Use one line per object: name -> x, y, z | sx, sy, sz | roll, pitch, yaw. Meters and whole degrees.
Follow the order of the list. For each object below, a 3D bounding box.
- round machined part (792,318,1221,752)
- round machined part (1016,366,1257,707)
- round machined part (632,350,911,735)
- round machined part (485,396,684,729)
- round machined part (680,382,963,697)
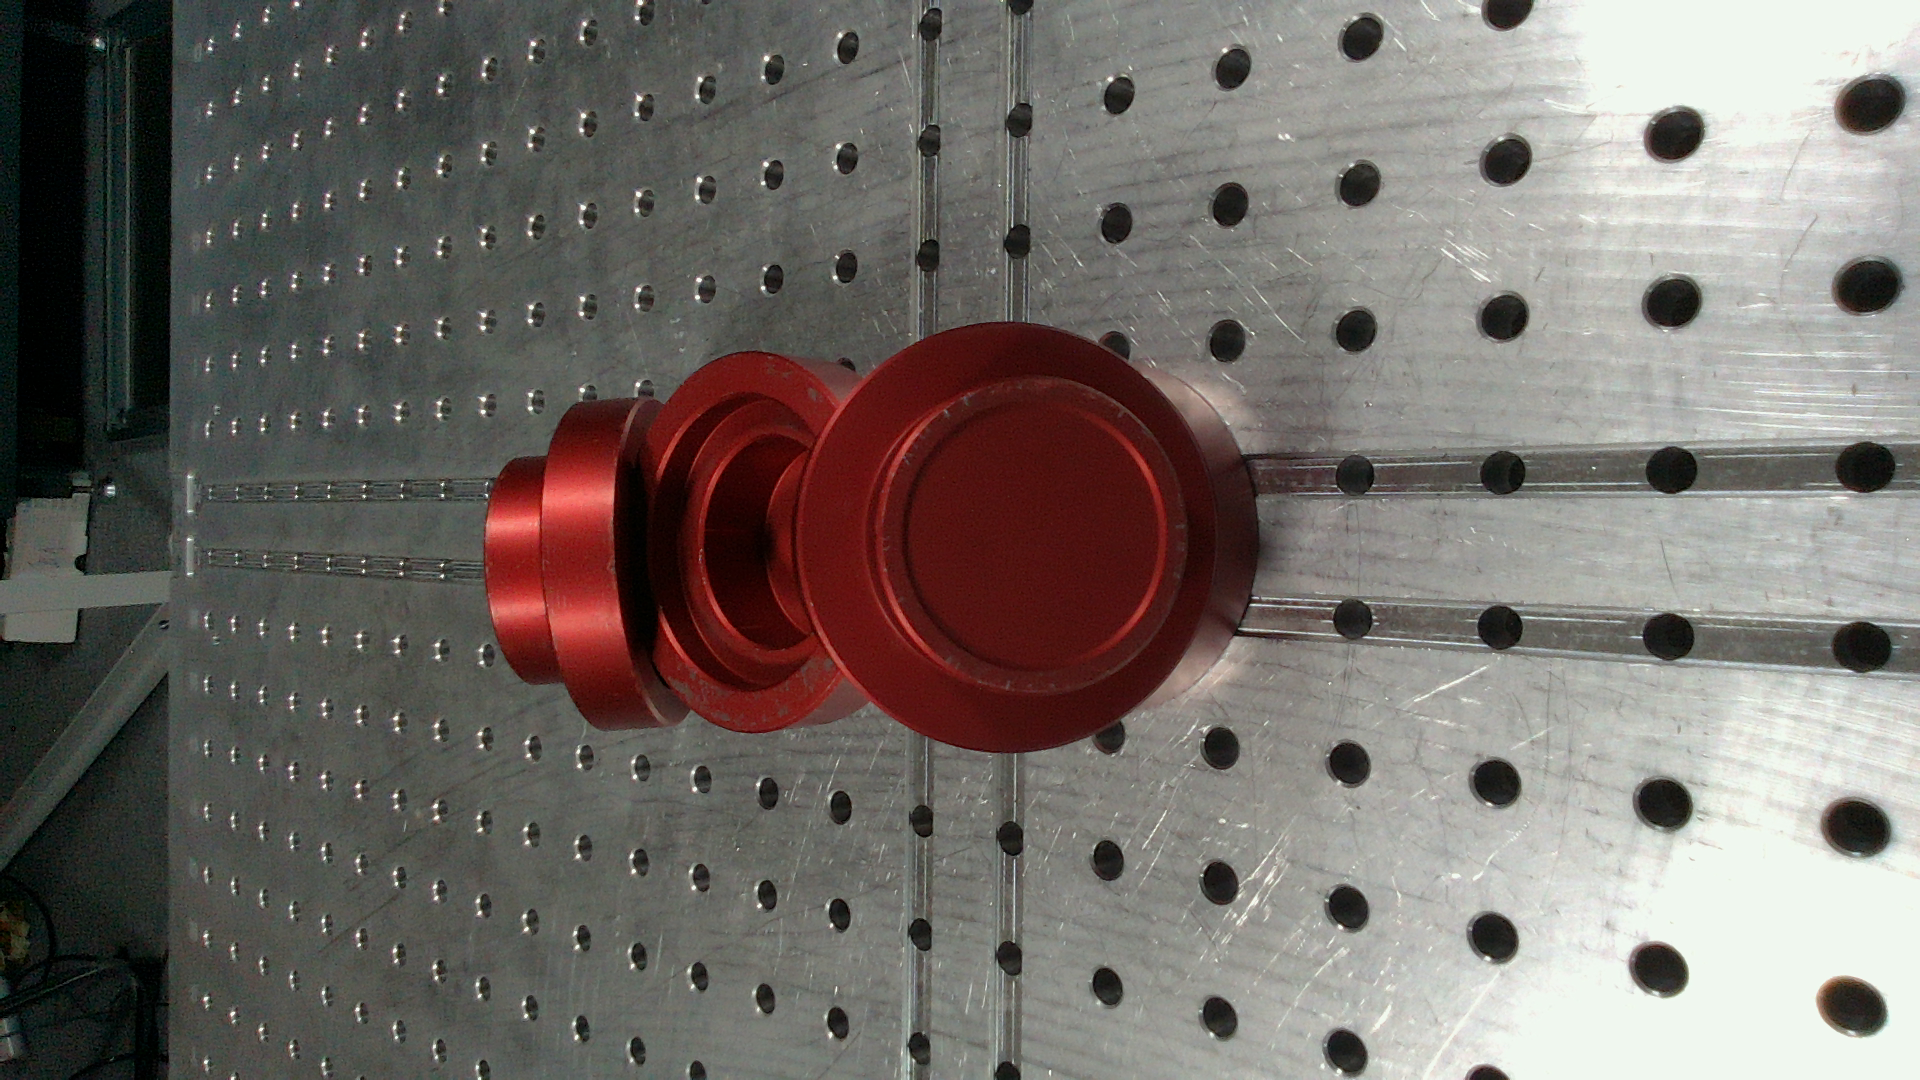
round machined part -> 0.012, -0.001, 0.309 | 0.042, 0.098, 0.098 | -179, 89, -80
round machined part -> 0.025, -0.001, 0.365 | 0.098, 0.042, 0.098 | 0, 90, 40
round machined part -> -0.043, 0.001, 0.367 | 0.098, 0.042, 0.098 | 0, 90, 40
round machined part -> -0.108, 0.008, 0.411 | 0.042, 0.098, 0.098 | -5, 86, 3
round machined part -> -0.049, 0.000, 0.428 | 0.098, 0.042, 0.098 | 0, 90, 40
